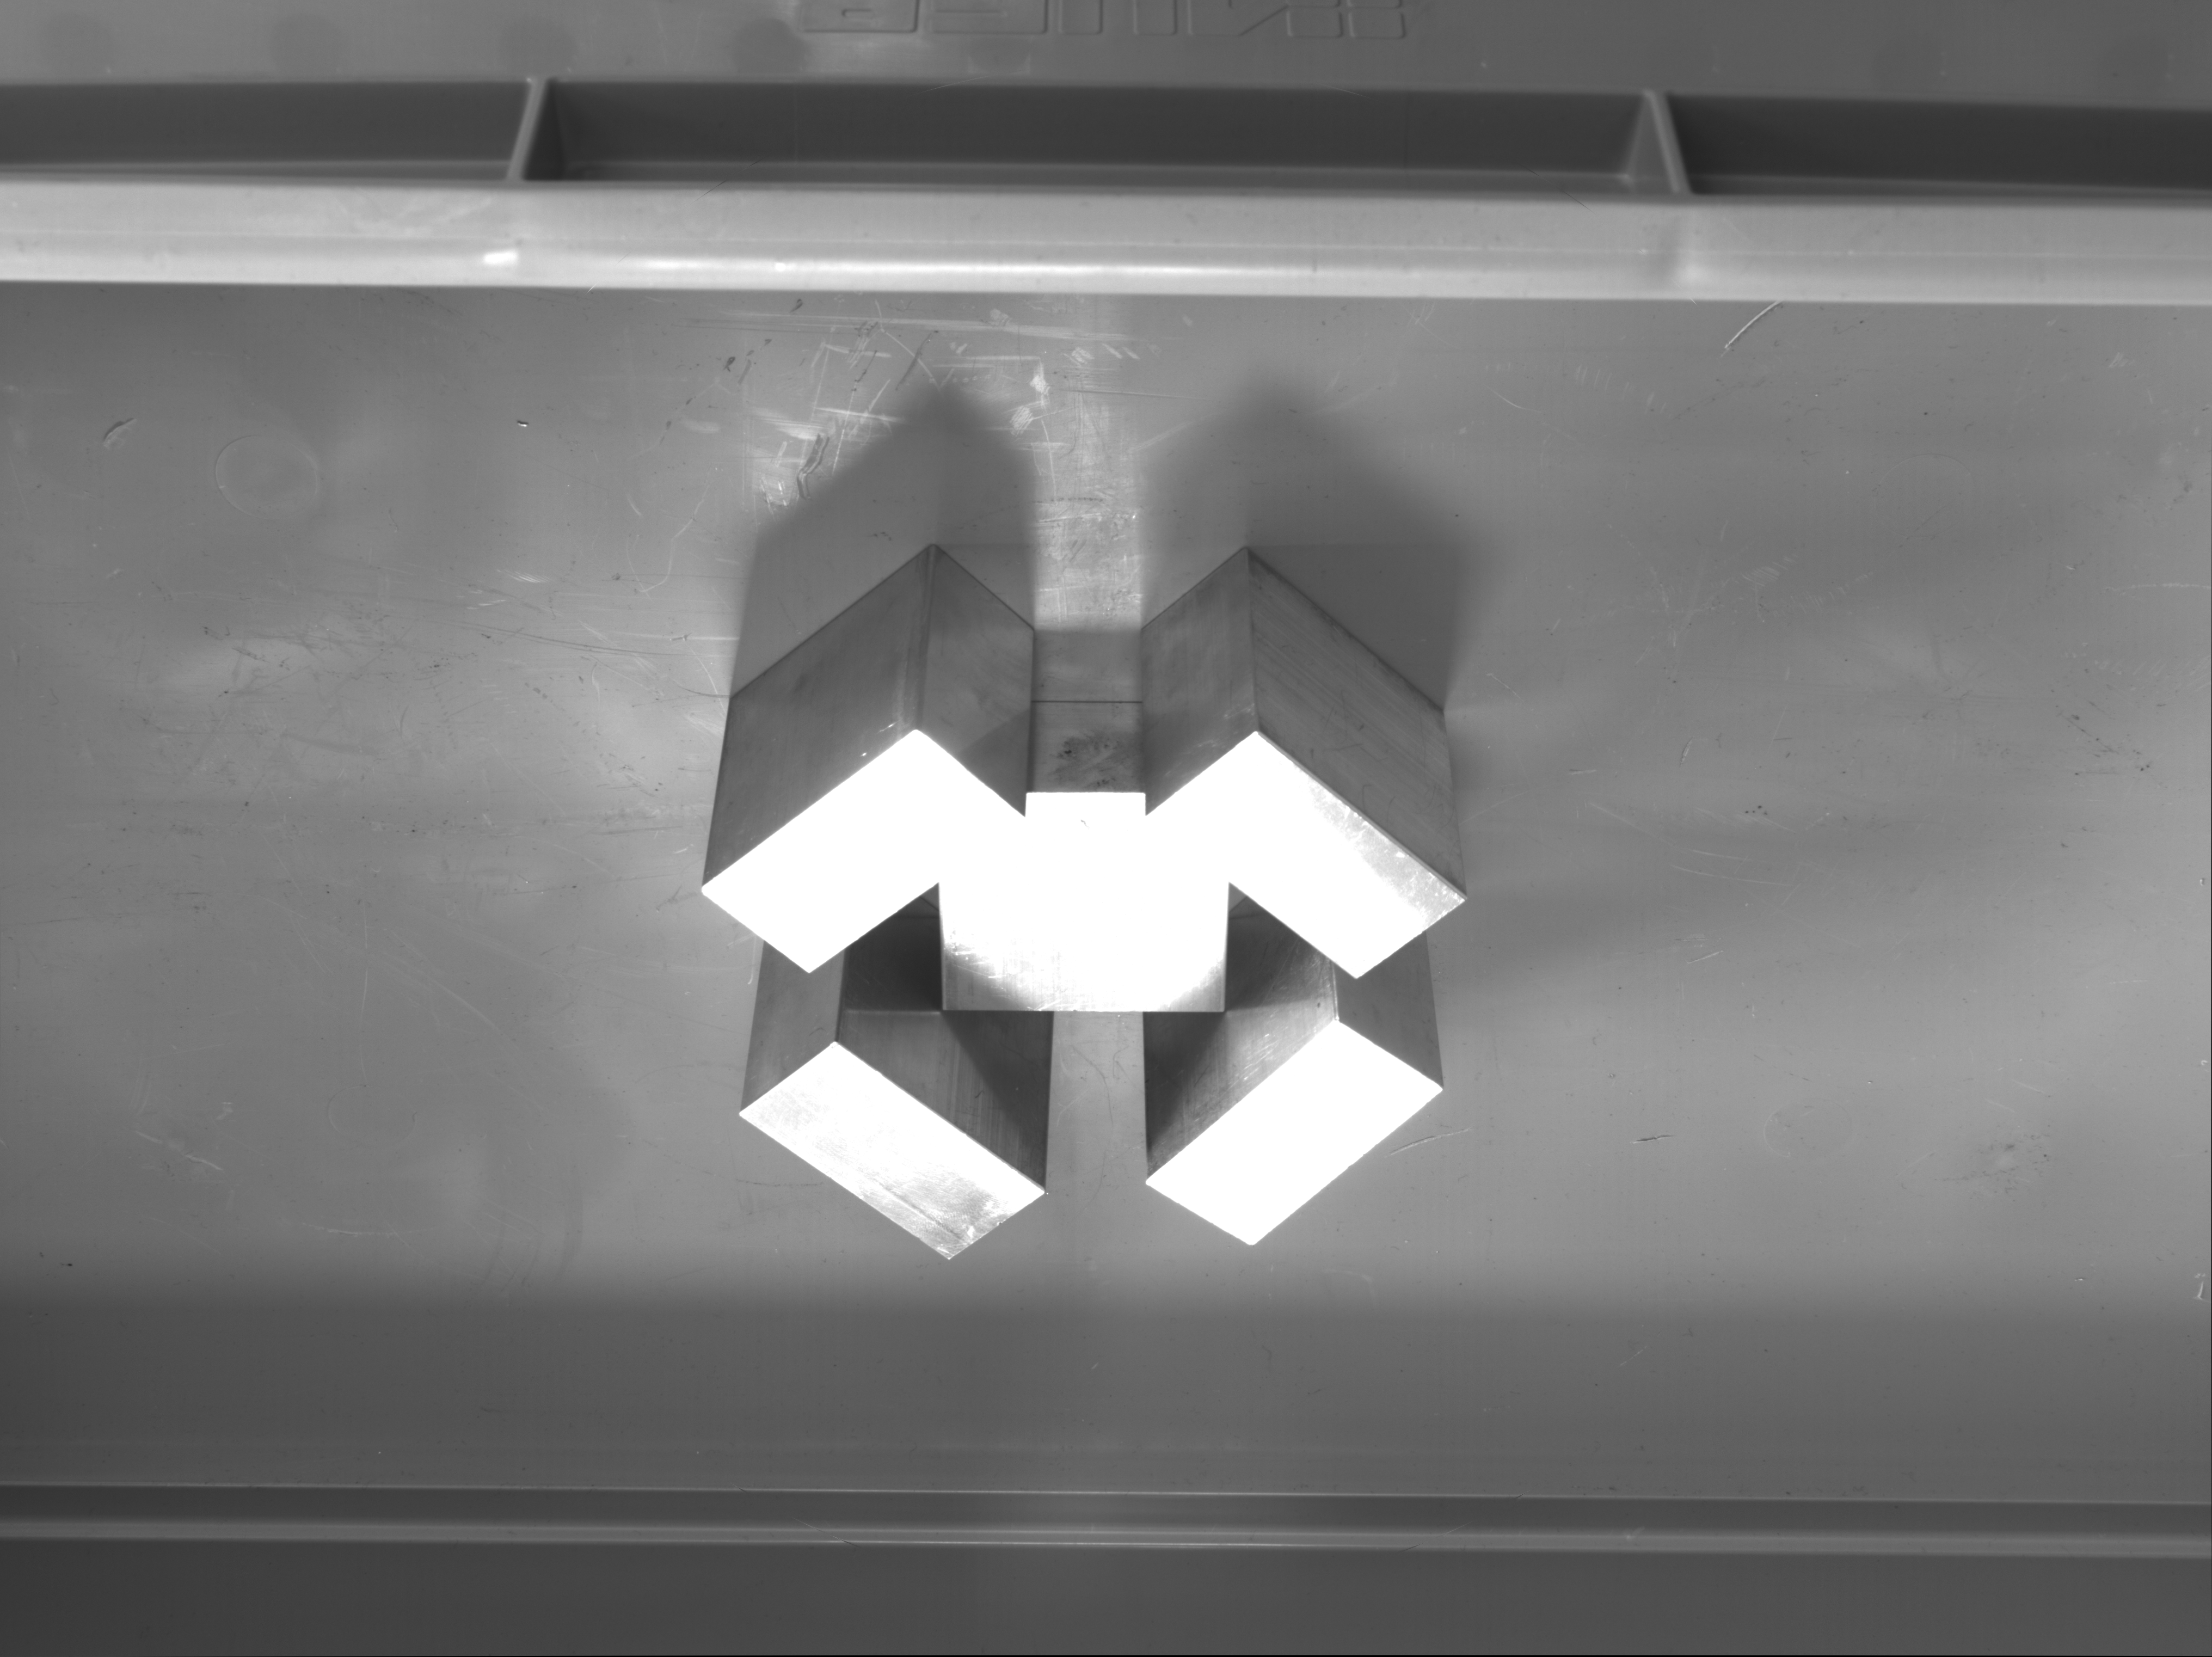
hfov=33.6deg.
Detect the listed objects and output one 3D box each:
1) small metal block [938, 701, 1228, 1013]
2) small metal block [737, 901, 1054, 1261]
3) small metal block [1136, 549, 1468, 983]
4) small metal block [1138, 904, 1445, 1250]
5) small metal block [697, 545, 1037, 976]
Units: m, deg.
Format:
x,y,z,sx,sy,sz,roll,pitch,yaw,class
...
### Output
x,y,z,sx,sy,sz,roll,pitch,yaw,class
-0.004,0.005,0.641,0.050,0.025,0.050,0,130,0,small metal block
-0.036,0.041,0.655,0.025,0.050,0.050,-37,121,28,small metal block
0.032,-0.011,0.612,0.025,0.050,0.050,-38,121,26,small metal block
0.032,0.038,0.652,0.025,0.050,0.050,32,122,-25,small metal block
-0.039,-0.011,0.611,0.050,0.050,0.025,-34,121,26,small metal block
